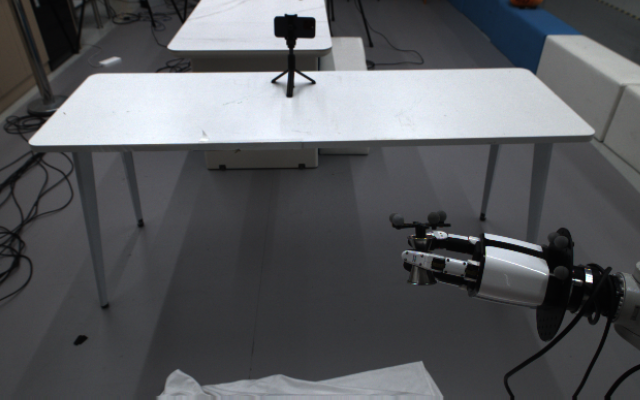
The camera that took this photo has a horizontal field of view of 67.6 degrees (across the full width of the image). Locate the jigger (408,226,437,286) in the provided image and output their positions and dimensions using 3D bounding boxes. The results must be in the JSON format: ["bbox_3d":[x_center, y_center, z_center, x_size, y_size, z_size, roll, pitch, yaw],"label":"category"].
[{"bbox_3d":[0.148,0.086,0.713,0.043,0.071,0.043,-2,3,0],"label":"jigger"}]
